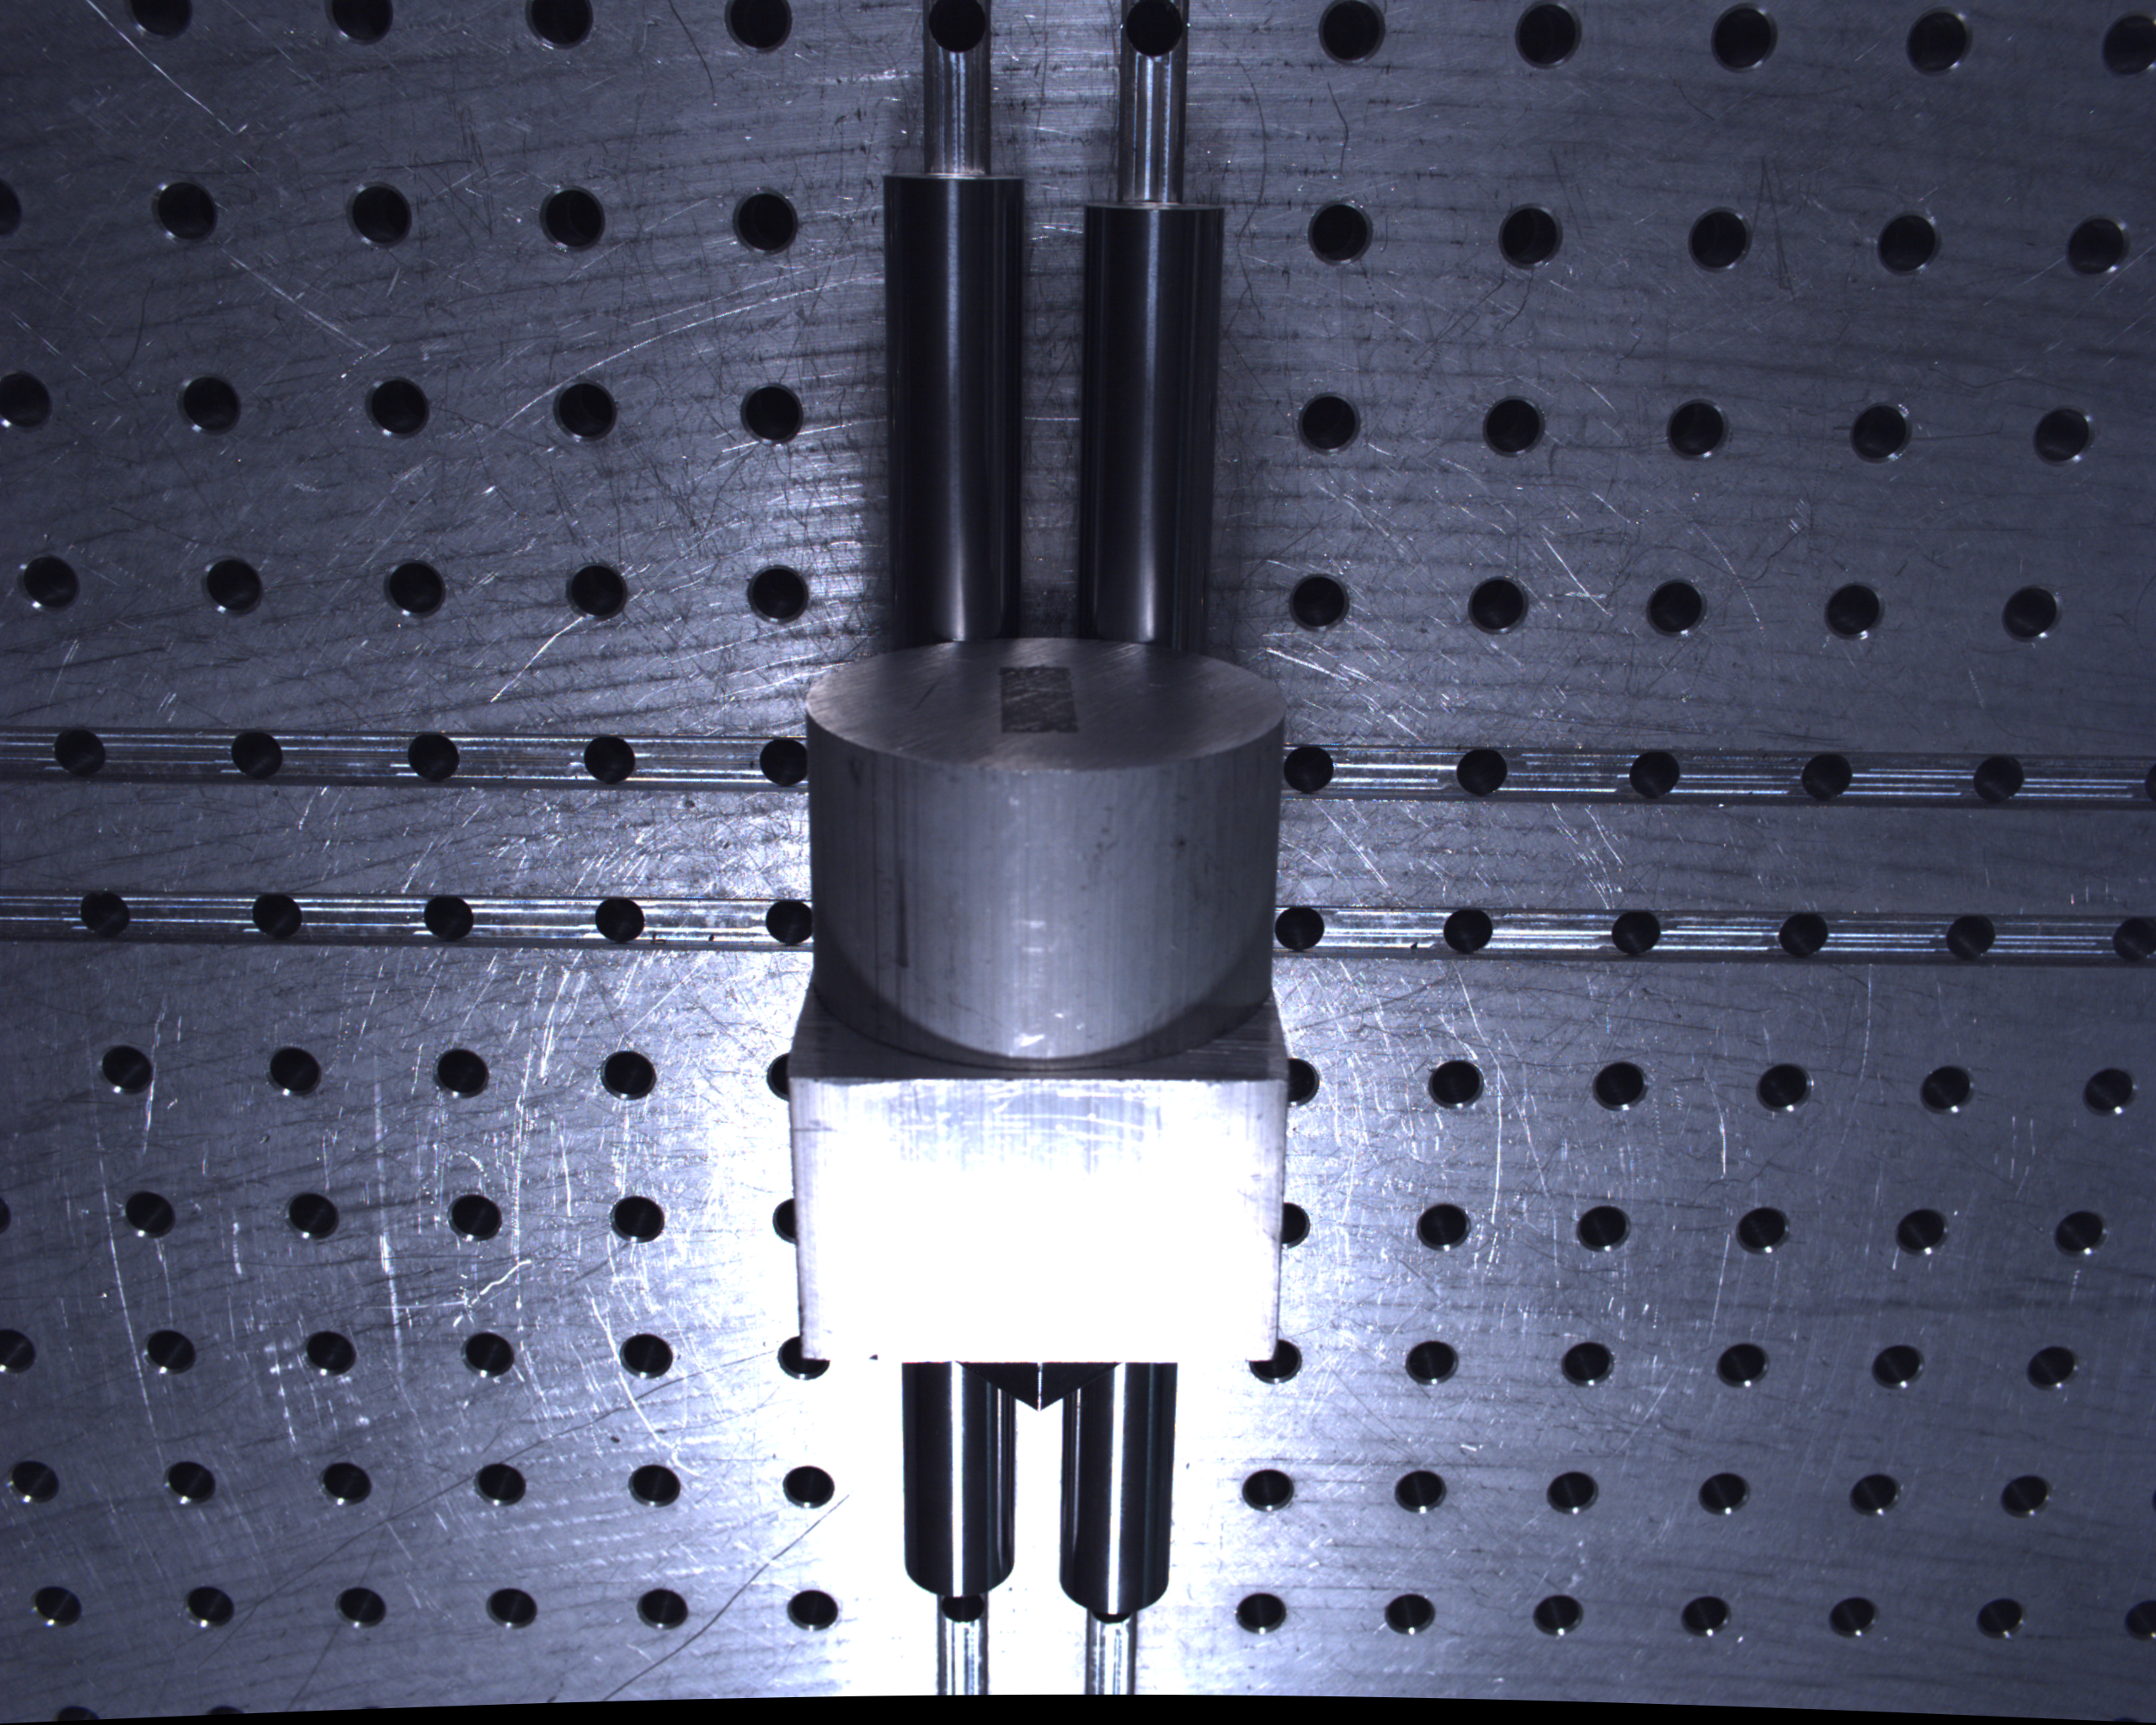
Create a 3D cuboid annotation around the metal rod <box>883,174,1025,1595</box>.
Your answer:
[{"bbox_3d":[-0.024,0.018,0.421,0.025,0.025,0.298,1,110,-1],"label":"metal rod"}]

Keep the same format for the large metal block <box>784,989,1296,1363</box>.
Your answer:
[{"bbox_3d":[-0.006,0.046,0.374,0.081,0.080,0.050,0,110,-1],"label":"large metal block"}]

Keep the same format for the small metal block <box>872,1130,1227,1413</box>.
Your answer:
[{"bbox_3d":[-0.007,0.075,0.403,0.050,0.050,0.025,-18,118,-42],"label":"small metal block"}]

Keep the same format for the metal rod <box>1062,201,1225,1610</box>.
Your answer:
[{"bbox_3d":[0.011,0.022,0.423,0.025,0.025,0.298,1,110,-1],"label":"metal rod"}]

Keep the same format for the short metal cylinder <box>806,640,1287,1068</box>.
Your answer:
[{"bbox_3d":[-0.006,-0.005,0.360,0.081,0.080,0.050,1,110,-1],"label":"short metal cylinder"}]
